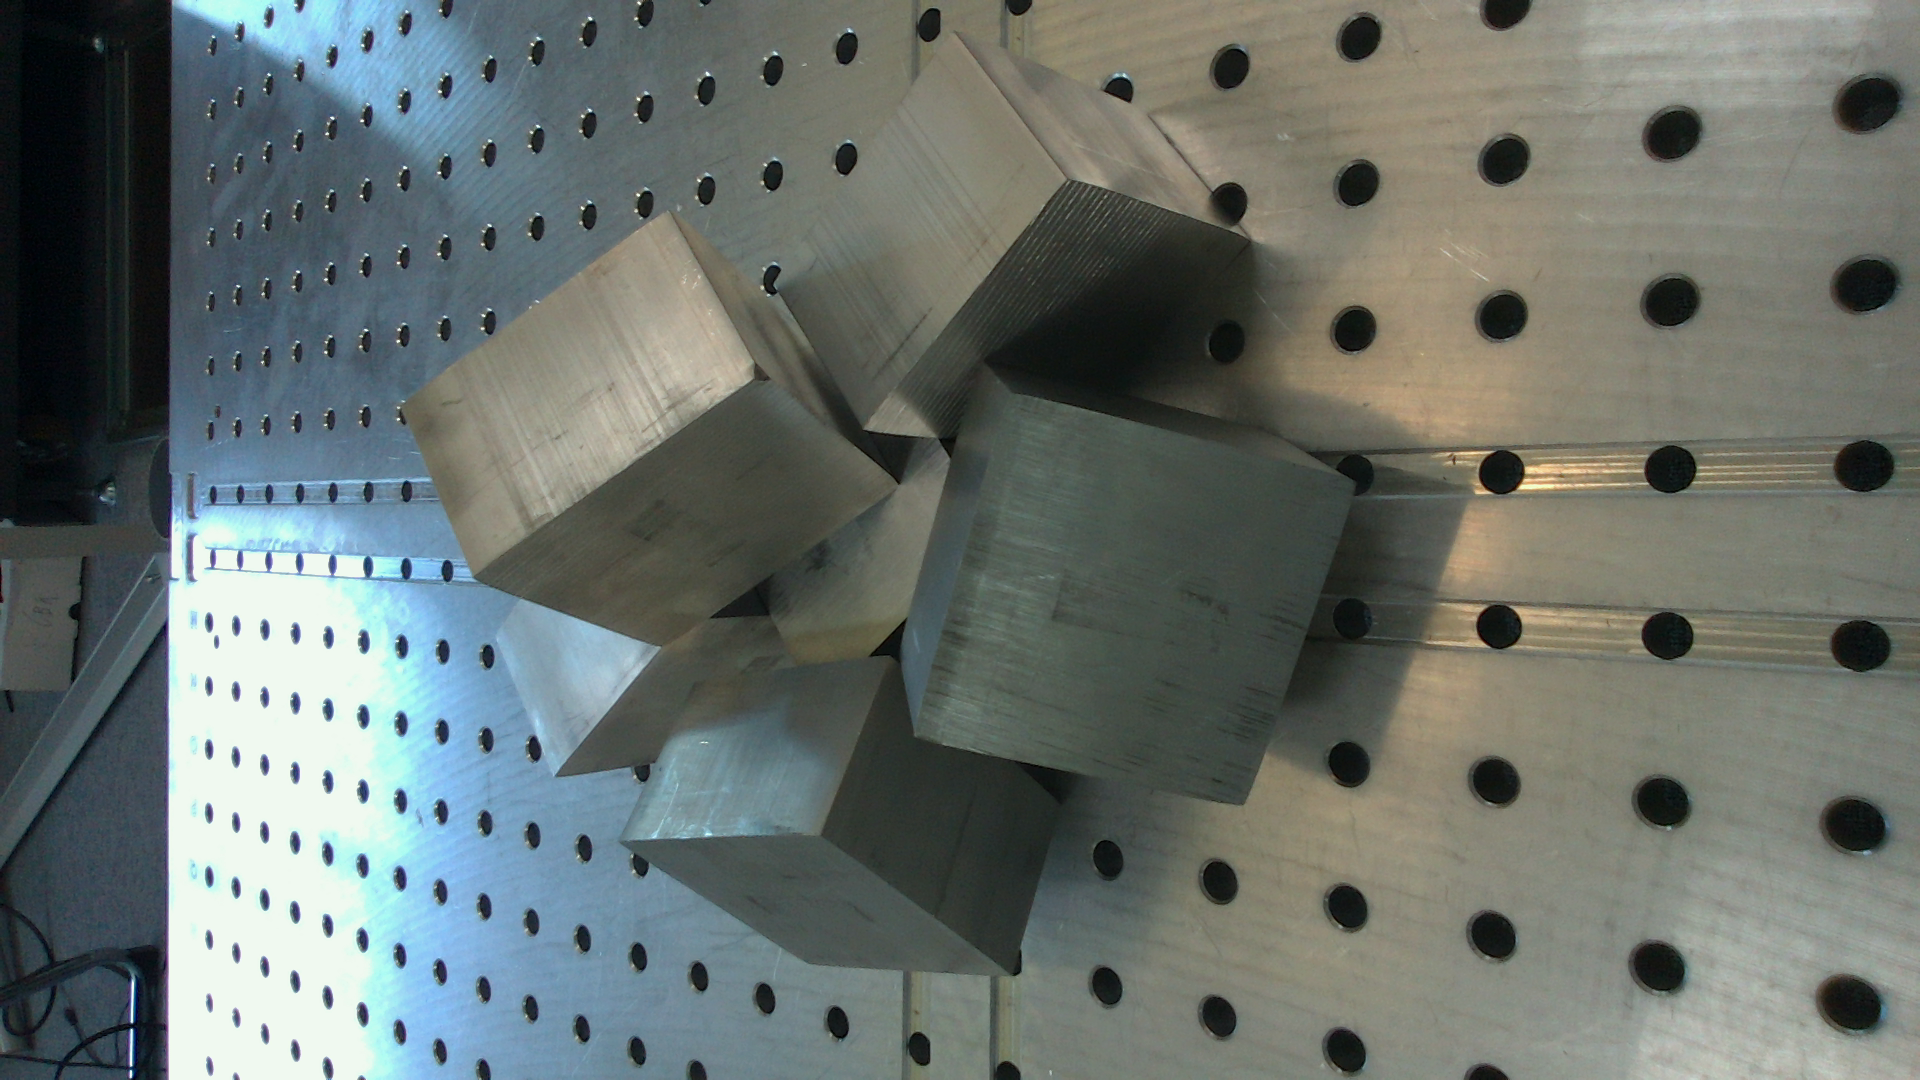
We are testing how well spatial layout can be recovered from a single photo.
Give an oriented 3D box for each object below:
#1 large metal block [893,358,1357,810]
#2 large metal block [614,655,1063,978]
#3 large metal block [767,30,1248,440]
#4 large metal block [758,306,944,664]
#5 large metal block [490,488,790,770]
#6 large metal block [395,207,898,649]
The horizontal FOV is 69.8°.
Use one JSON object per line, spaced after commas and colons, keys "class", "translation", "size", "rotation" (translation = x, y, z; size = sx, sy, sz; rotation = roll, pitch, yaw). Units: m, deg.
{"class": "large metal block", "translation": [0.034, 0.009, 0.324], "size": [0.050, 0.080, 0.080], "rotation": [-114, 39, -73]}
{"class": "large metal block", "translation": [-0.032, 0.078, 0.380], "size": [0.080, 0.080, 0.050], "rotation": [-12, 46, 40]}
{"class": "large metal block", "translation": [0.012, -0.071, 0.351], "size": [0.080, 0.080, 0.050], "rotation": [-47, 62, 30]}
{"class": "large metal block", "translation": [-0.018, -0.009, 0.398], "size": [0.080, 0.050, 0.080], "rotation": [-47, 62, 30]}
{"class": "large metal block", "translation": [-0.086, 0.024, 0.433], "size": [0.080, 0.080, 0.050], "rotation": [-46, 63, 30]}
{"class": "large metal block", "translation": [-0.074, -0.023, 0.342], "size": [0.080, 0.080, 0.050], "rotation": [-34, 66, 8]}
